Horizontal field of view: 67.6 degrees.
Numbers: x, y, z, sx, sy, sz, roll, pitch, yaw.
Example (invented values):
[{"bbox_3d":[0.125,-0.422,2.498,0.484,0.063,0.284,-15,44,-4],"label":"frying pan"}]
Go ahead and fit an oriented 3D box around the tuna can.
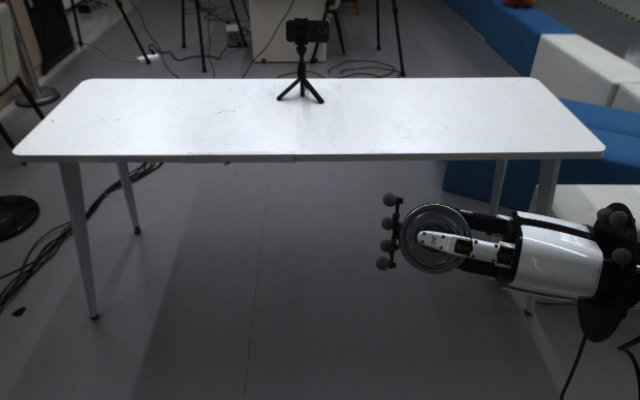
[{"bbox_3d":[0.142,0.042,0.589,0.085,0.085,0.034,10,2,11],"label":"tuna can"}]
